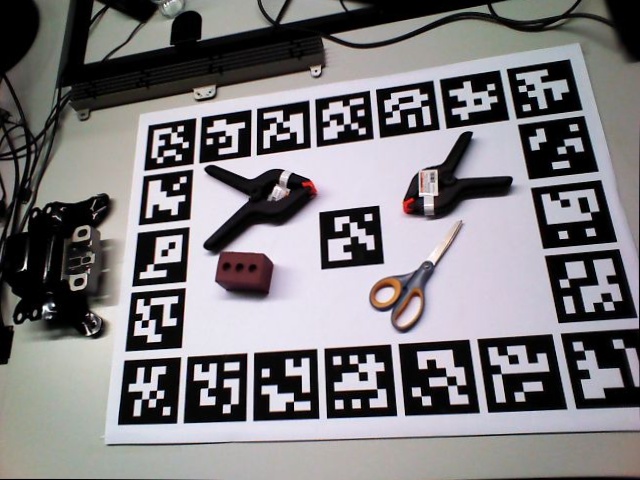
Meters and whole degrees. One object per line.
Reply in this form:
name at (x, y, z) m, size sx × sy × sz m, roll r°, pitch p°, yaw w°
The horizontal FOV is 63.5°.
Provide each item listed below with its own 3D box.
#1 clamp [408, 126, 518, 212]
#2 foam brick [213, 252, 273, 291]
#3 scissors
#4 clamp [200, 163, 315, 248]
clamp at (0.212, -0.096, 0.827) m, size 0.165 × 0.036 × 0.121 m, roll -32°, pitch 74°, yaw 1°
foam brick at (-0.124, 0.051, 0.840) m, size 0.078 × 0.051 × 0.052 m, roll 1°, pitch 72°, yaw 18°
scissors at (0.155, 0.046, 0.792) m, size 0.088 × 0.016 × 0.202 m, roll 36°, pitch 80°, yaw 14°
clamp at (-0.109, -0.076, 0.888) m, size 0.203 × 0.037 × 0.164 m, roll -9°, pitch 66°, yaw 9°
